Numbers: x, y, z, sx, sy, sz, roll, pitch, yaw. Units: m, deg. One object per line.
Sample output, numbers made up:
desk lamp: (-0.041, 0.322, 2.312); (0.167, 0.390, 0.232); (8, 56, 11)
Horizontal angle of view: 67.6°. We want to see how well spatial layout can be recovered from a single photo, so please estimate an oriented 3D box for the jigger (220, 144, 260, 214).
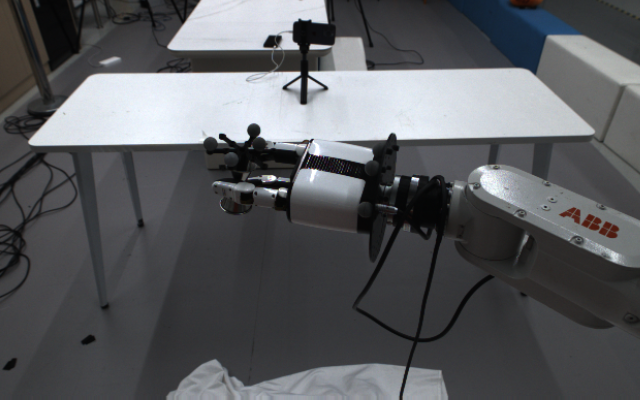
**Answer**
jigger: (-0.106, -0.020, 0.633); (0.043, 0.071, 0.043); (10, 36, -7)
